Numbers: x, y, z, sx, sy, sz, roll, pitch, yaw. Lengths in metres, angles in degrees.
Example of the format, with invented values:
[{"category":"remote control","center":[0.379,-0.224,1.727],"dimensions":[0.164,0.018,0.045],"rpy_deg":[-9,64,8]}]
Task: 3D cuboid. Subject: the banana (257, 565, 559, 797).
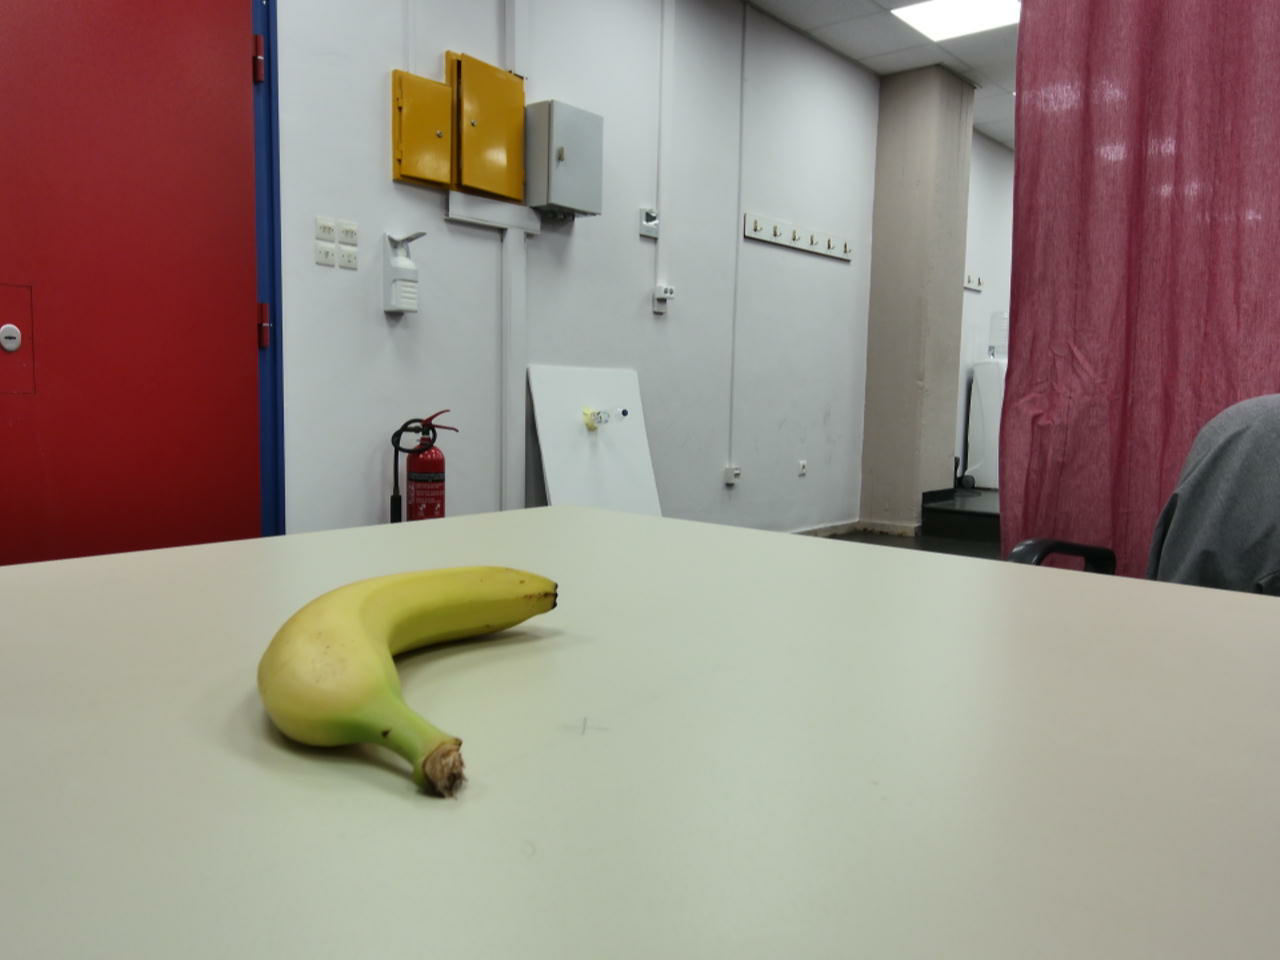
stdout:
[{"category":"banana","center":[-0.092,0.063,0.385],"dimensions":[0.094,0.041,0.196],"rpy_deg":[1,4,4]}]
